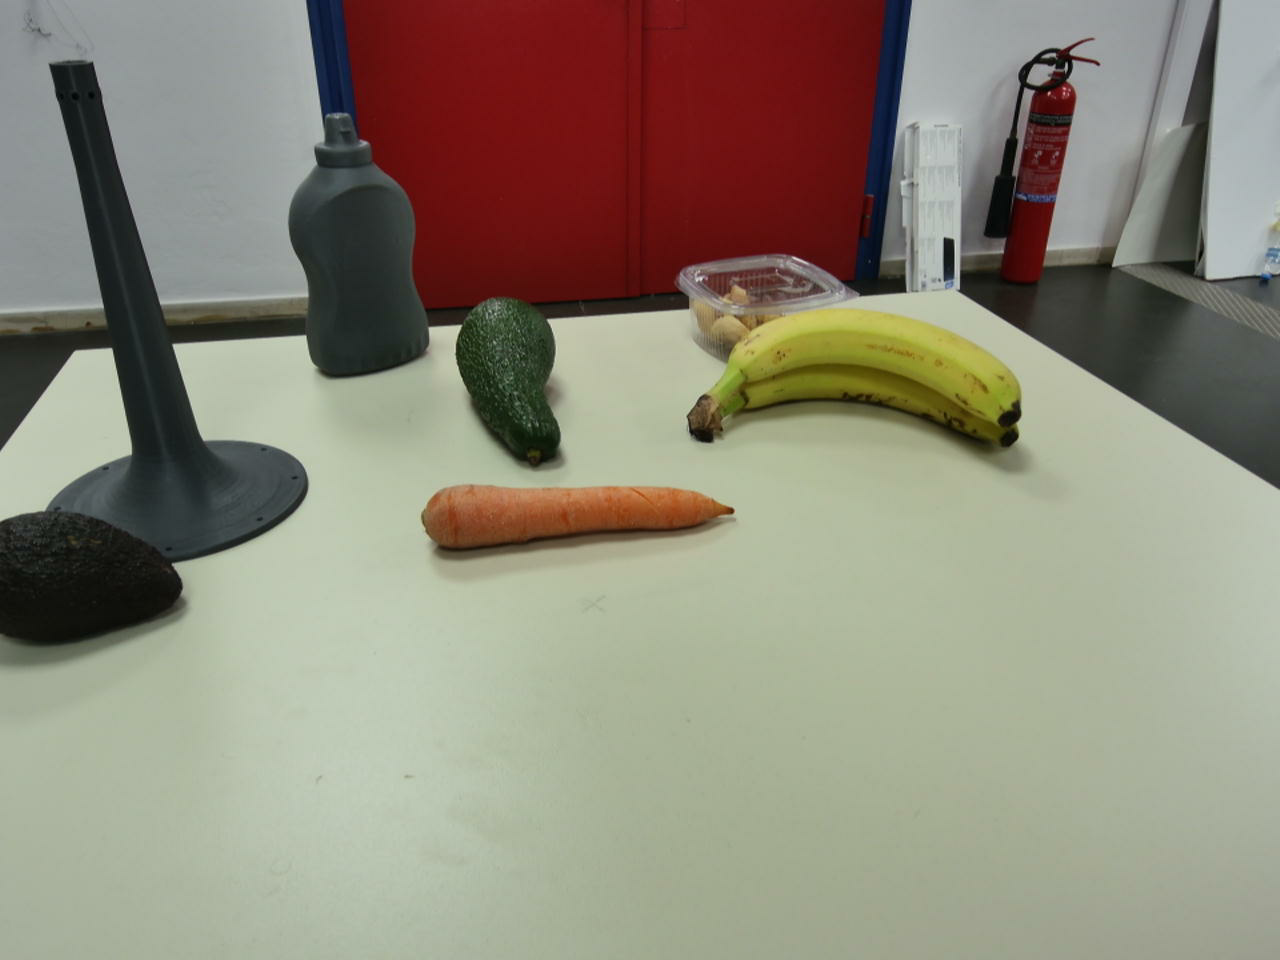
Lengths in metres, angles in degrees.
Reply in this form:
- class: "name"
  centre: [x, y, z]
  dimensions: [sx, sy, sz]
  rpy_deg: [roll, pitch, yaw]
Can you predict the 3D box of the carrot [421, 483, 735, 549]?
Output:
- class: "carrot"
  centre: [-0.035, 0.016, 0.622]
  dimensions: [0.196, 0.041, 0.039]
  rpy_deg: [-6, 27, -11]
